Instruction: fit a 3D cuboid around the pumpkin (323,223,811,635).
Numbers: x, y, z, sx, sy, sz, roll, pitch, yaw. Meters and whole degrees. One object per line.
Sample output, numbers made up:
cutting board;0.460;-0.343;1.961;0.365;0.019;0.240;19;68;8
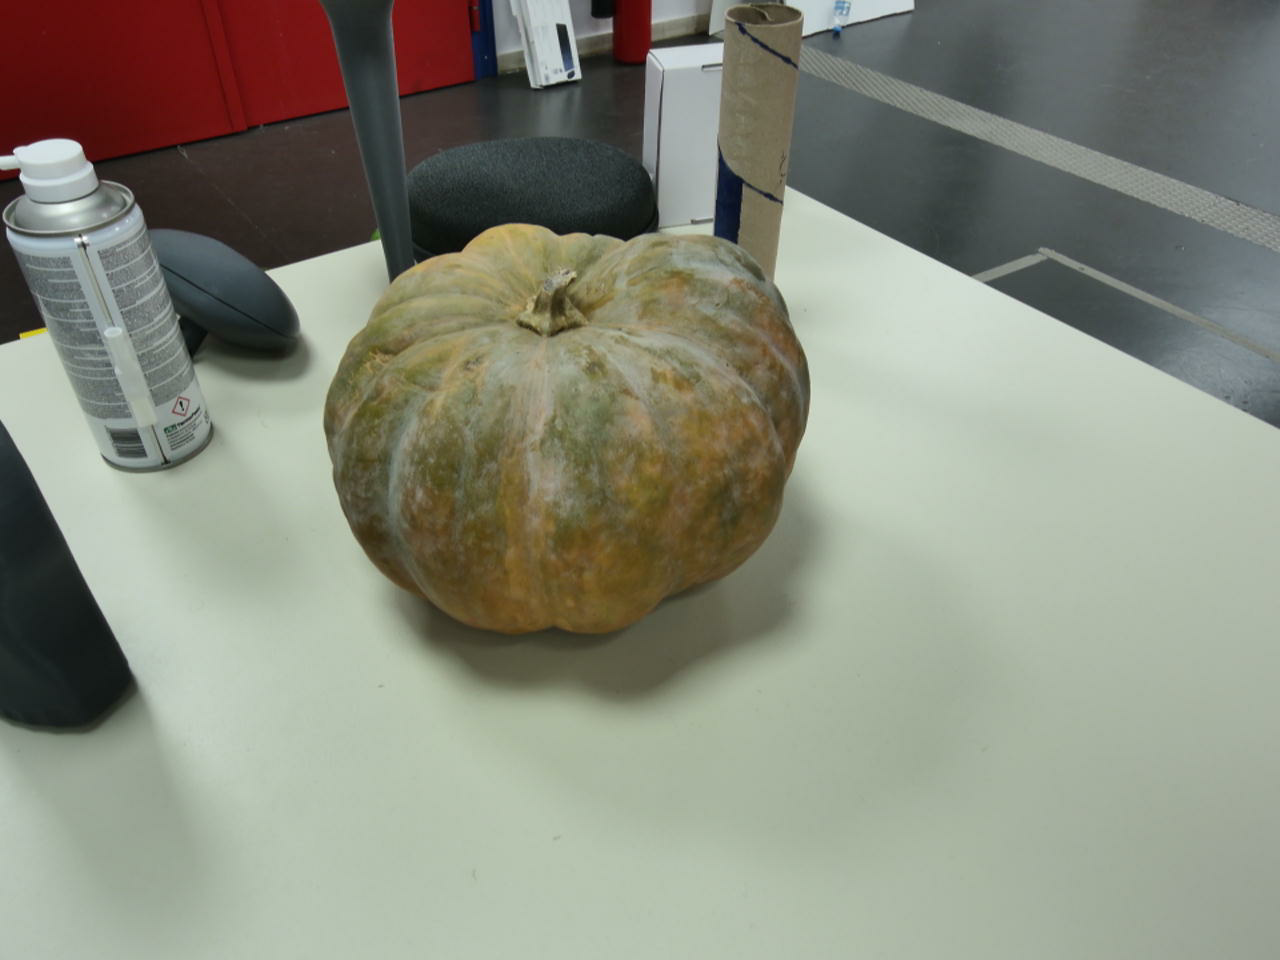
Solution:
pumpkin;-0.039;-0.032;0.519;0.252;0.169;0.251;0;38;0
